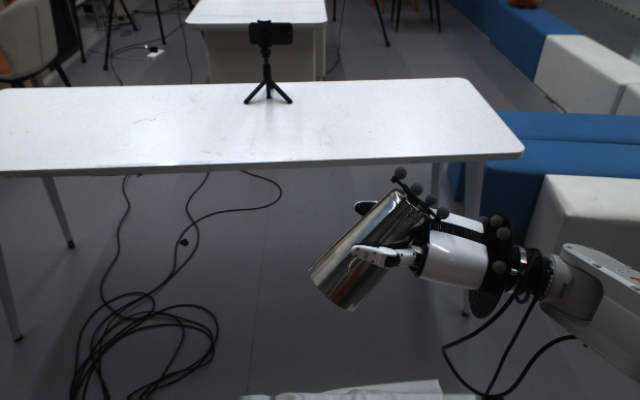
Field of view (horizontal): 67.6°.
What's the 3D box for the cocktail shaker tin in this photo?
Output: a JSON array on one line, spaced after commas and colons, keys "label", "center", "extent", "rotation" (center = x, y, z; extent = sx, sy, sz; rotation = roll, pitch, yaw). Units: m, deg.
[{"label": "cocktail shaker tin", "center": [0.074, 0.062, 0.693], "extent": [0.093, 0.170, 0.093], "rotation": [41, 12, -11]}]
